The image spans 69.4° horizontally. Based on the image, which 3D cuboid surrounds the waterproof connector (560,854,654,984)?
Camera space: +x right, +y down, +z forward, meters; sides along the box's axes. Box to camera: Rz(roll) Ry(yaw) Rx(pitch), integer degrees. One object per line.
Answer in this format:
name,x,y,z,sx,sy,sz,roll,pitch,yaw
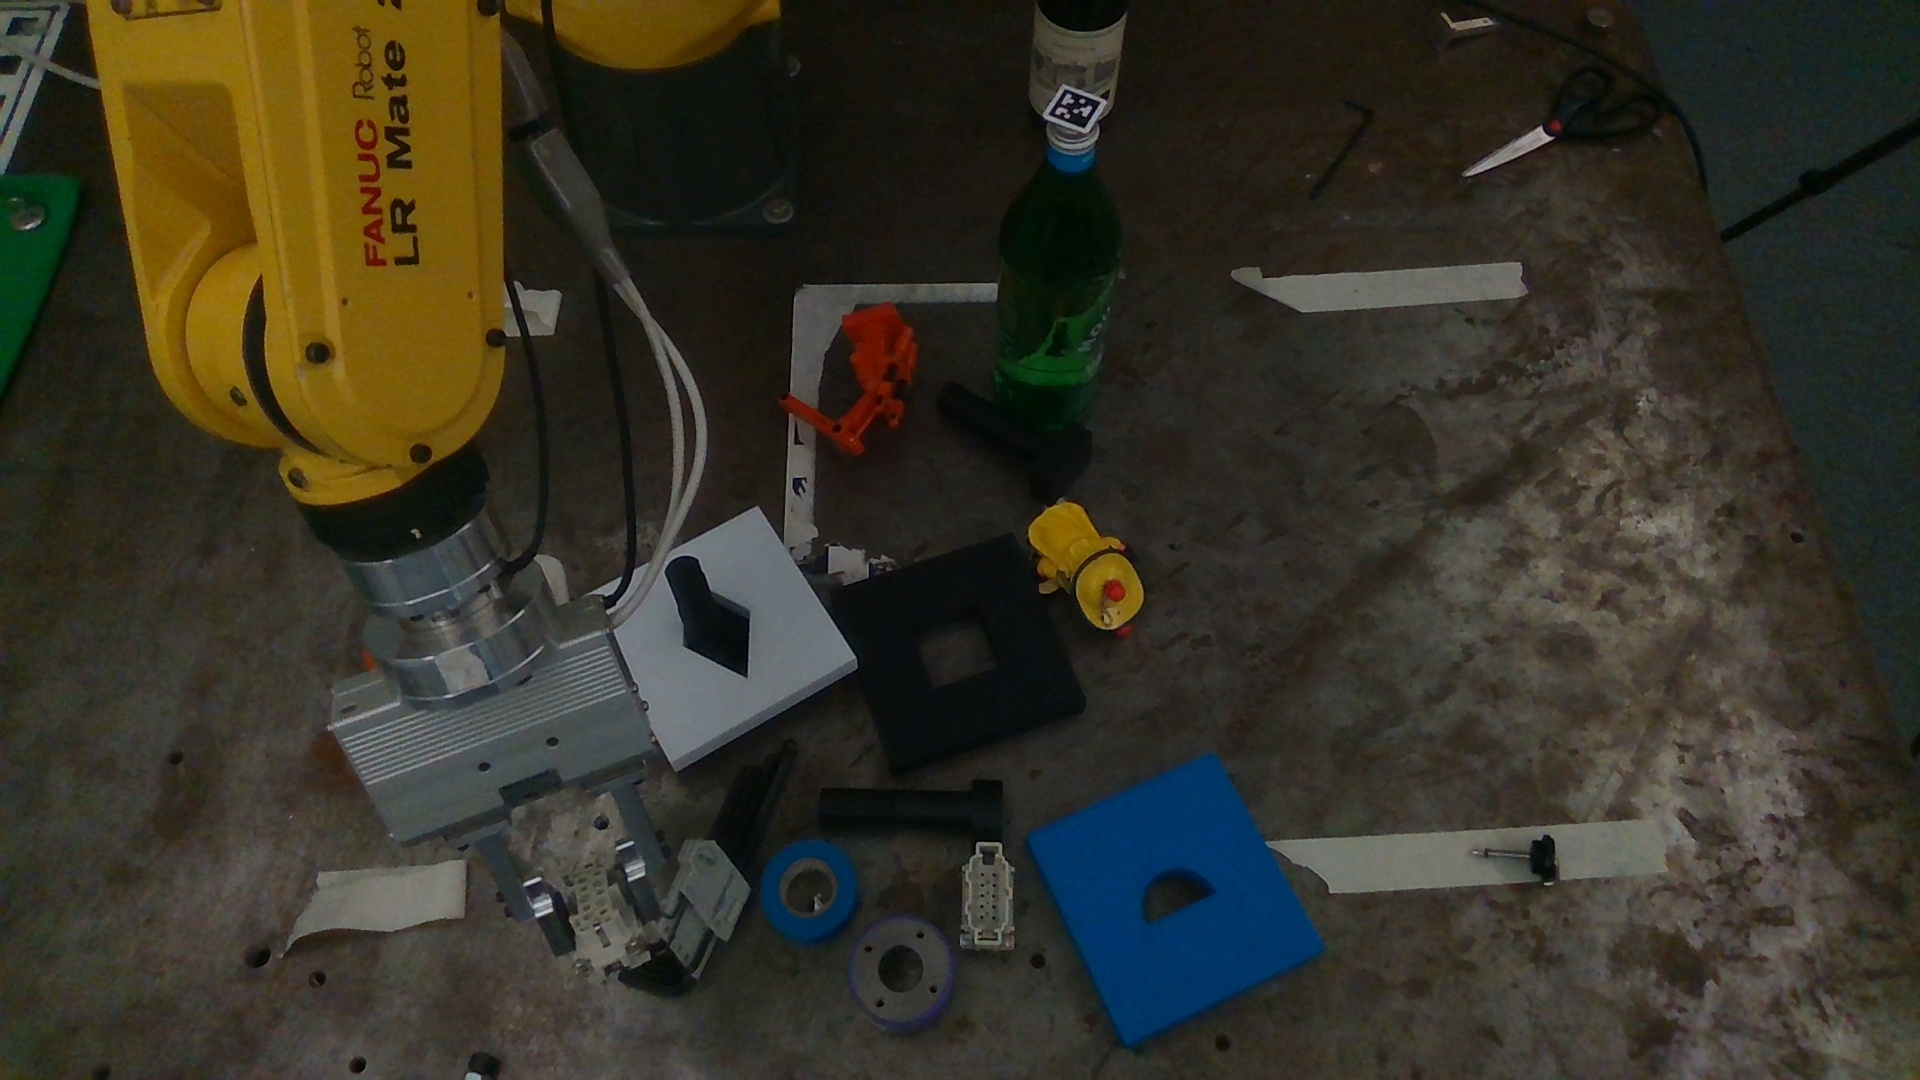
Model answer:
waterproof connector,-0.178,0.185,0.689,0.036,0.038,0.069,-25,32,-6
